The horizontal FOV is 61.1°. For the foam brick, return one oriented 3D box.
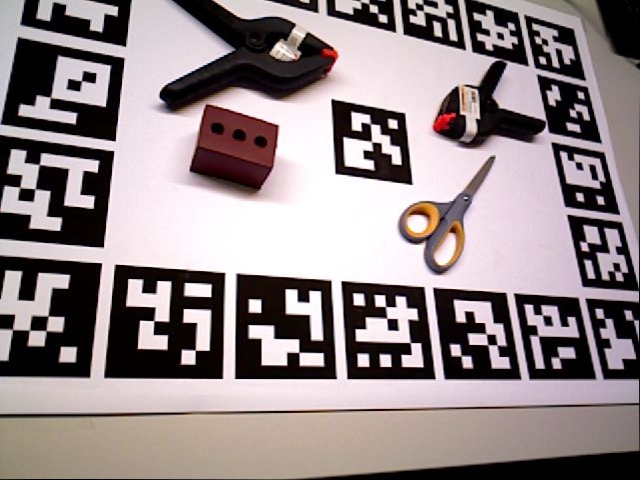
[{"bbox_3d":[-0.092,-0.086,0.553,0.077,0.052,0.052,11,69,-13],"label":"foam brick"}]

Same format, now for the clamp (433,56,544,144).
[{"bbox_3d":[0.216,-0.172,0.716,0.162,0.037,0.122,-25,89,-26],"label":"clamp"}]

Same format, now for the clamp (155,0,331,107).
[{"bbox_3d":[-0.084,-0.211,0.606,0.200,0.037,0.164,1,68,-22],"label":"clamp"}]

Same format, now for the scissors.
[{"bbox_3d":[0.164,-0.040,0.652,0.088,0.016,0.198,45,60,-11],"label":"scissors"}]
